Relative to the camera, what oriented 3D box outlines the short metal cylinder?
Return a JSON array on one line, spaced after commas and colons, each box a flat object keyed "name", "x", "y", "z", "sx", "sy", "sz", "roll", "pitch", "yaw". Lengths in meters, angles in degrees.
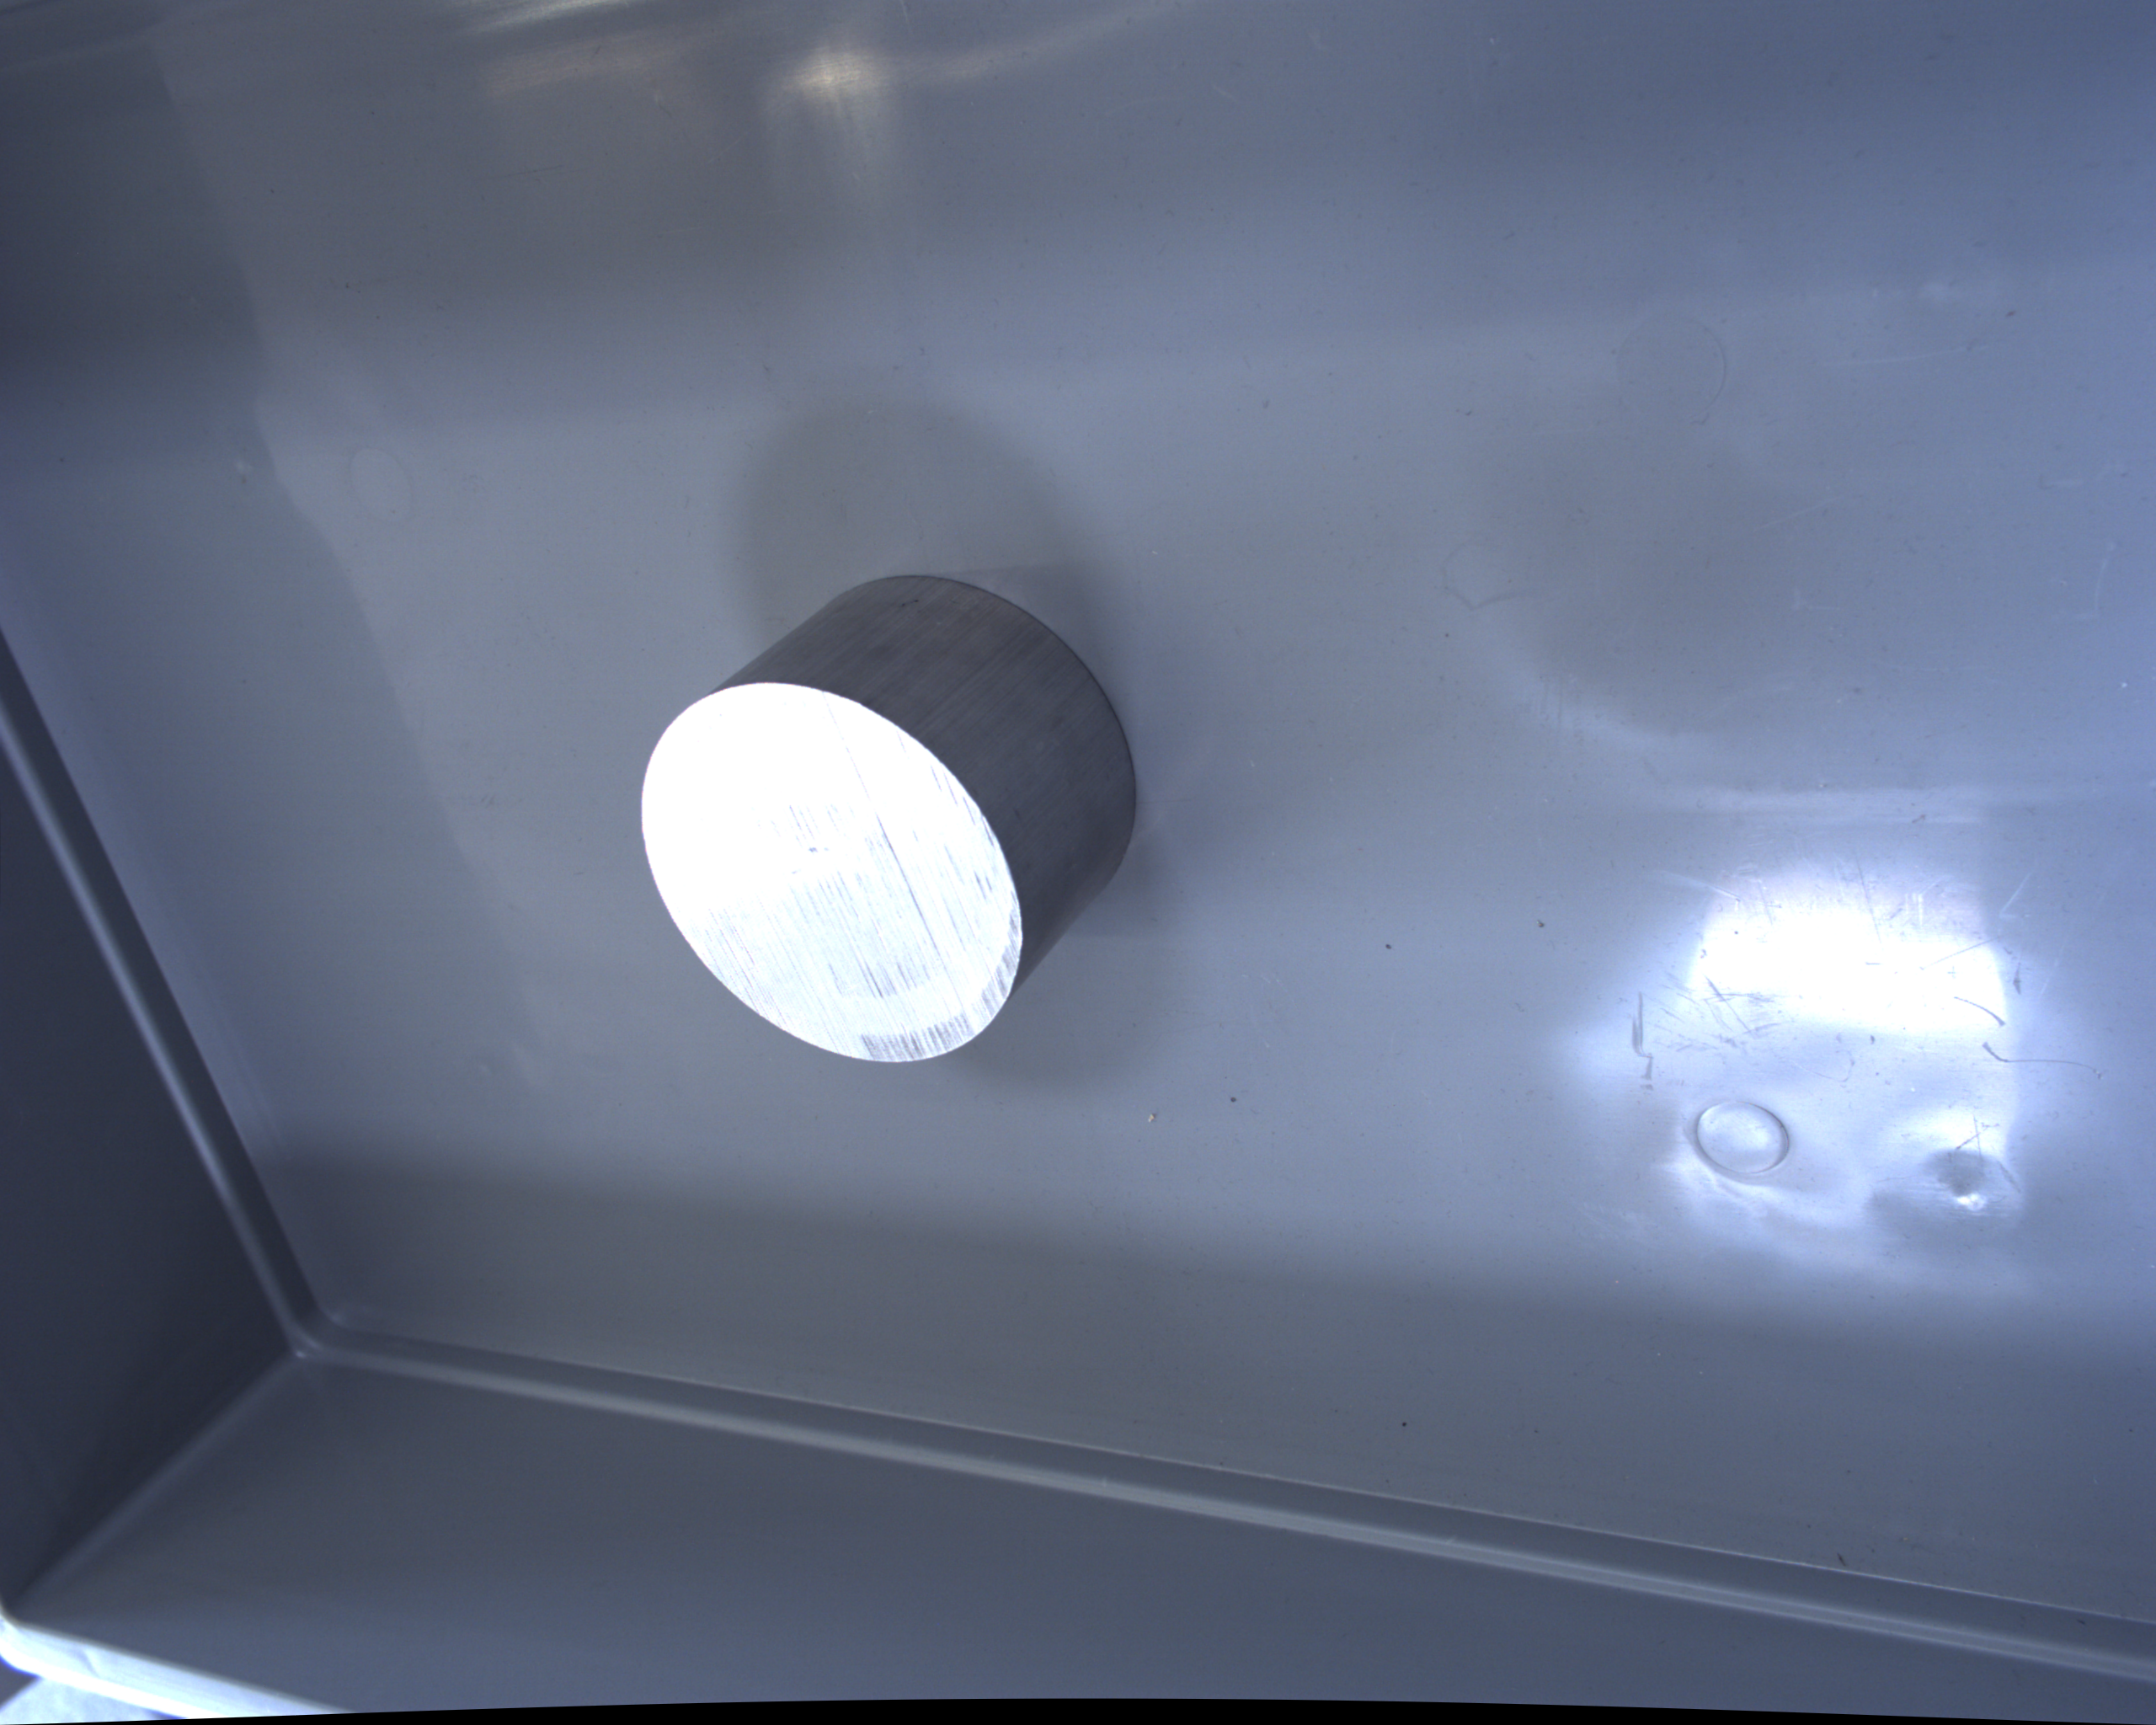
[{"name": "short metal cylinder", "x": -0.036, "y": -0.009, "z": 0.404, "sx": 0.080, "sy": 0.050, "sz": 0.080, "roll": 13, "pitch": 124, "yaw": 21}]
